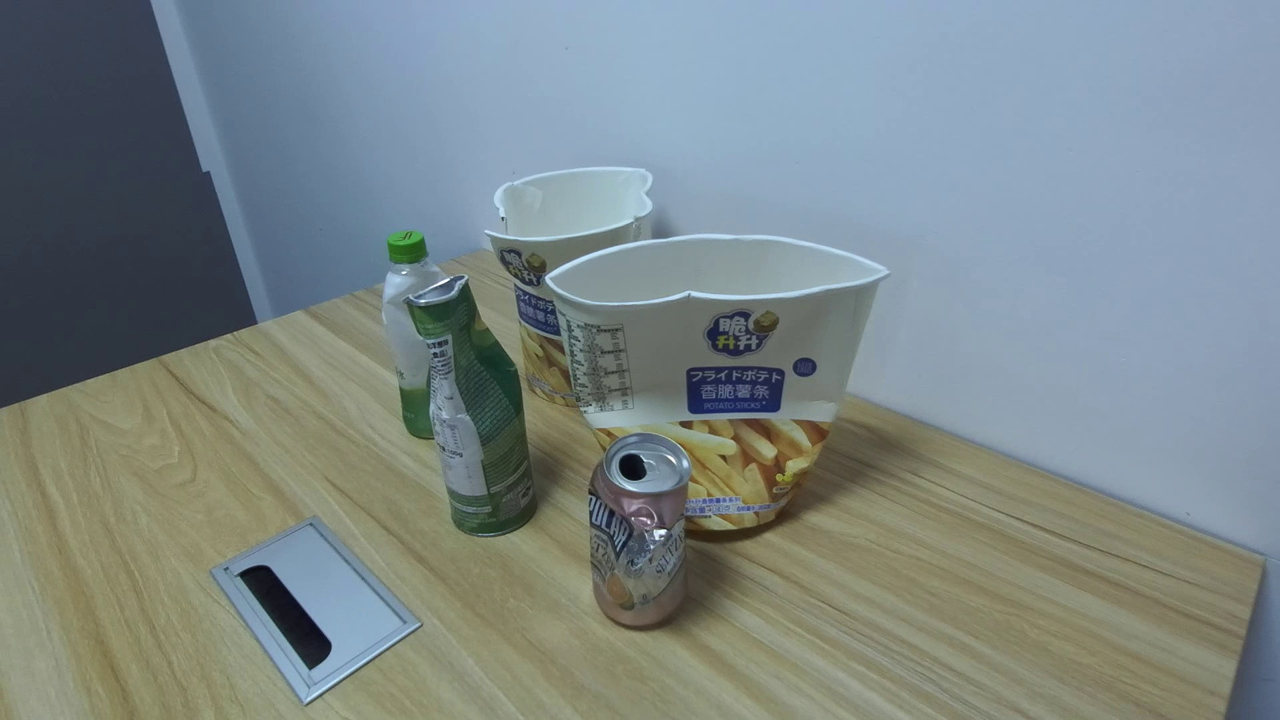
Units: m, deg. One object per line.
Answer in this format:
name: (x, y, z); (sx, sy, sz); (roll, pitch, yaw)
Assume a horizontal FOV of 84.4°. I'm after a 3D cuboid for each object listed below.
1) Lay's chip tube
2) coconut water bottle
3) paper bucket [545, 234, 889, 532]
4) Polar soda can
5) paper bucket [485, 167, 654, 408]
Lay's chip tube: (-0.130, 0.034, 0.535); (0.070, 0.199, 0.079); (9, 29, 32)
coconut water bottle: (-0.183, -0.027, 0.644); (0.067, 0.187, 0.067); (-7, 31, 5)
paper bucket: (0.059, 0.016, 0.545); (0.219, 0.199, 0.147); (-19, 35, -27)
Polar soda can: (0.004, 0.115, 0.465); (0.067, 0.122, 0.070); (-7, 32, -17)
paper bucket: (-0.053, -0.072, 0.701); (0.146, 0.197, 0.202); (-5, 29, -2)
